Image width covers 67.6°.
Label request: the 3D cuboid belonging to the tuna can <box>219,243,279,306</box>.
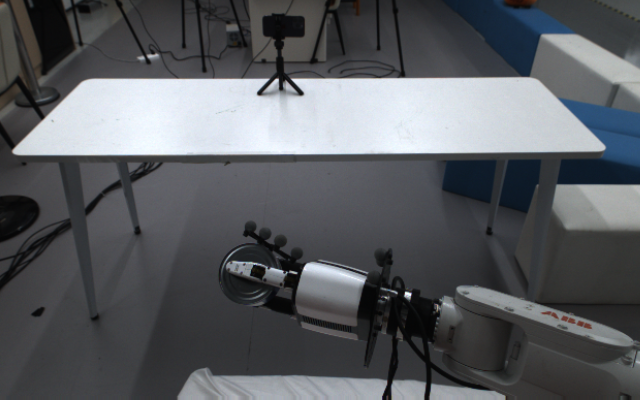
[{"bbox_3d":[-0.095,0.106,0.678,0.085,0.034,0.085,-2,71,6],"label":"tuna can"}]
